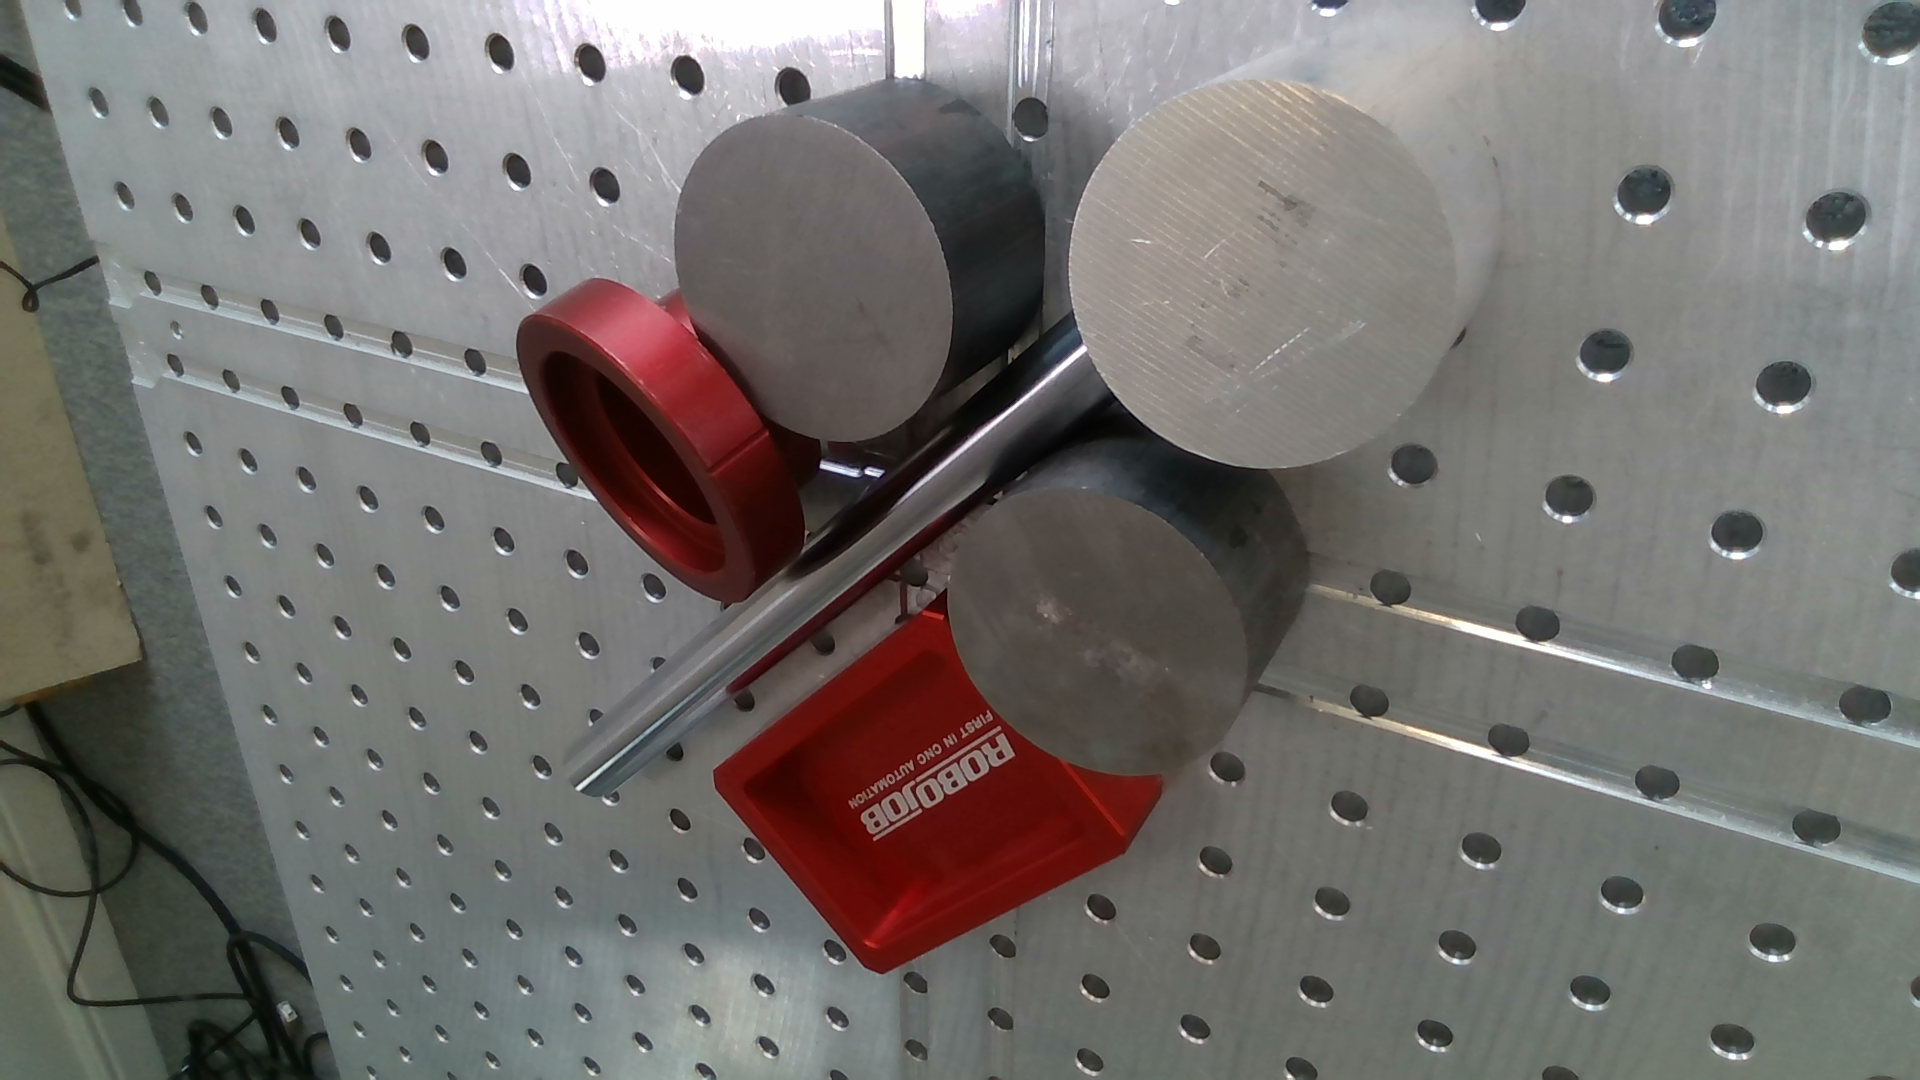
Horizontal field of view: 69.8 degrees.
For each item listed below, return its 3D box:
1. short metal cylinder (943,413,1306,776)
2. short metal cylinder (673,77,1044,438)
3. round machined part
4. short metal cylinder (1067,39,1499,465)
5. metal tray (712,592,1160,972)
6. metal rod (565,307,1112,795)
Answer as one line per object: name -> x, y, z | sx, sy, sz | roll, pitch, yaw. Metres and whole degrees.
short metal cylinder -> 0.043, 0.013, 0.356 | 0.080, 0.050, 0.080 | 15, 122, 25
short metal cylinder -> -0.025, -0.072, 0.351 | 0.080, 0.050, 0.080 | 15, 122, 25
round machined part -> -0.078, -0.034, 0.397 | 0.098, 0.042, 0.098 | 35, 150, 23
short metal cylinder -> 0.070, -0.063, 0.298 | 0.080, 0.050, 0.080 | 15, 122, 25
metal tray -> -0.012, 0.077, 0.437 | 0.090, 0.030, 0.130 | 51, 130, -1
metal rod -> -0.046, 0.014, 0.429 | 0.025, 0.025, 0.301 | 51, 129, -2
